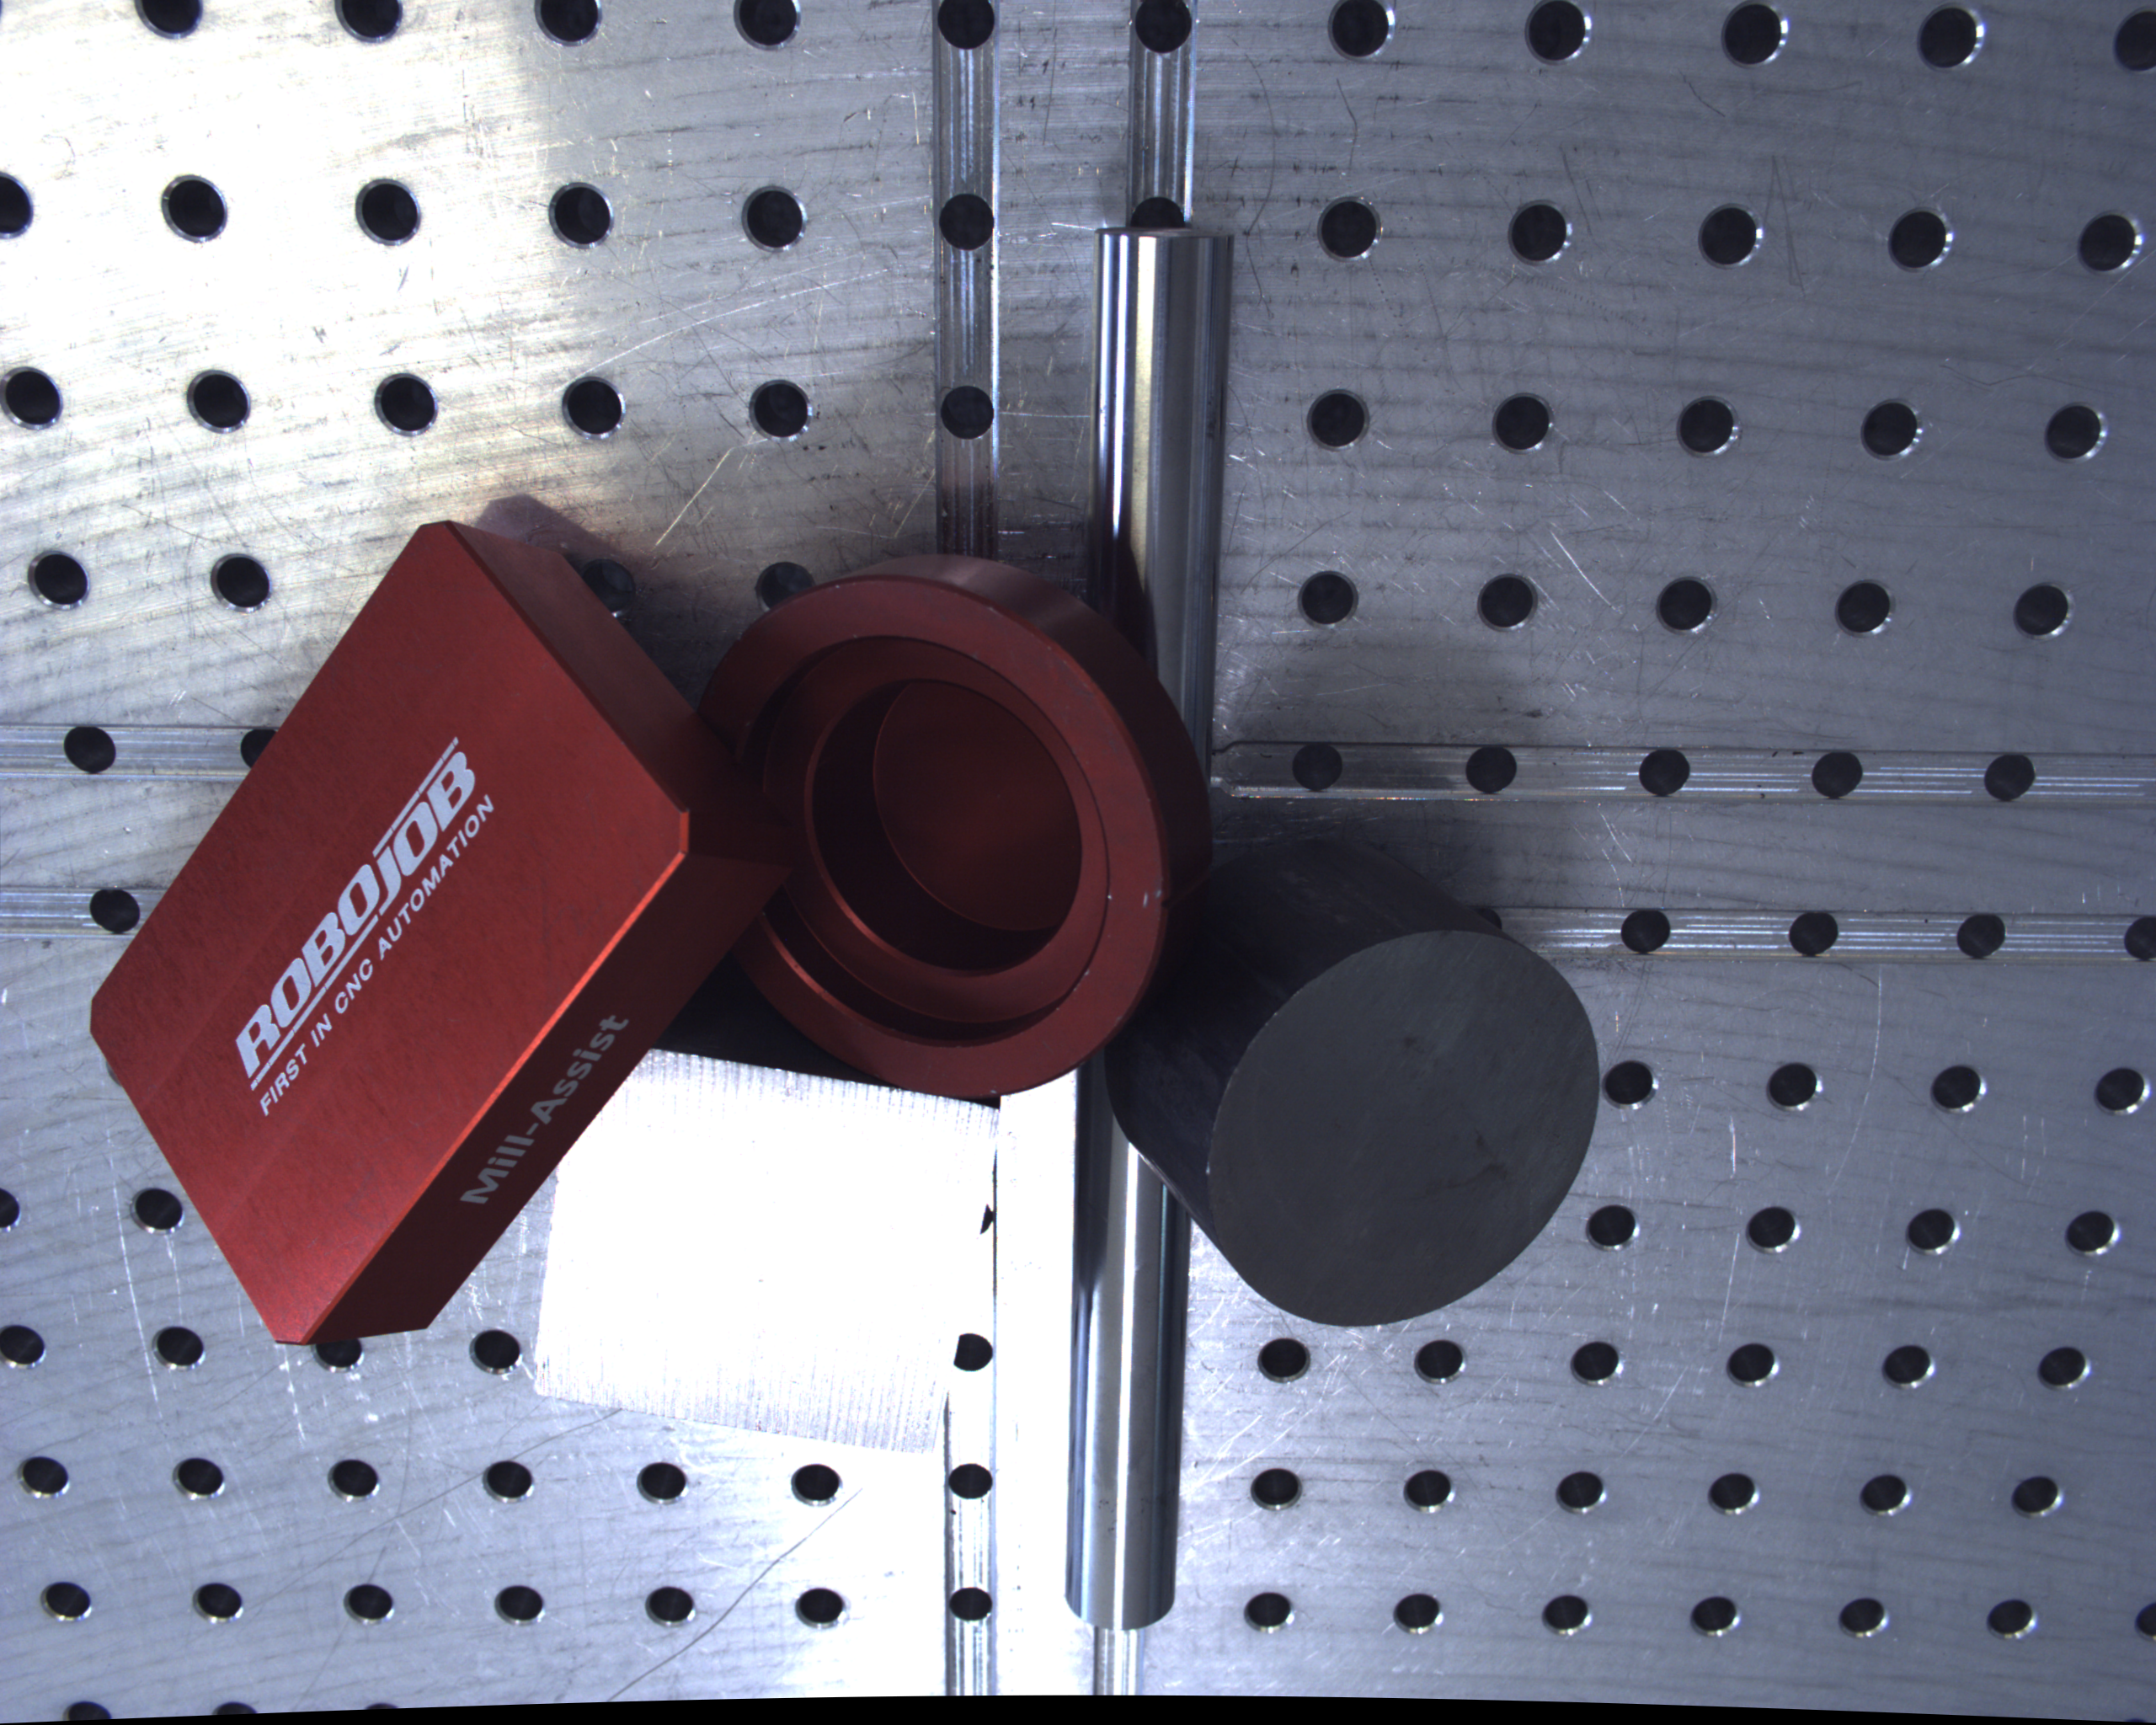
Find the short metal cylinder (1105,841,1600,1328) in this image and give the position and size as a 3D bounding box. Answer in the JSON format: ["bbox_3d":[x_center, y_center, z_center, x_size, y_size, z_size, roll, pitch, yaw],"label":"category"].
[{"bbox_3d":[0.052,0.042,0.402,0.081,0.050,0.079,-7,112,-19],"label":"short metal cylinder"}]

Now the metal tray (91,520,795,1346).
[{"bbox_3d":[-0.122,0.014,0.388,0.130,0.030,0.090,-50,65,15],"label":"metal tray"}]

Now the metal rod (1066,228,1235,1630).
[{"bbox_3d":[0.013,0.027,0.424,0.025,0.025,0.298,1,110,-1],"label":"metal rod"}]

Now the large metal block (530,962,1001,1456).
[{"bbox_3d":[-0.061,0.067,0.424,0.081,0.050,0.079,10,110,-4],"label":"large metal block"}]

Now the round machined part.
[{"bbox_3d":[-0.021,-0.009,0.387,0.098,0.042,0.097,9,111,24],"label":"round machined part"}]
